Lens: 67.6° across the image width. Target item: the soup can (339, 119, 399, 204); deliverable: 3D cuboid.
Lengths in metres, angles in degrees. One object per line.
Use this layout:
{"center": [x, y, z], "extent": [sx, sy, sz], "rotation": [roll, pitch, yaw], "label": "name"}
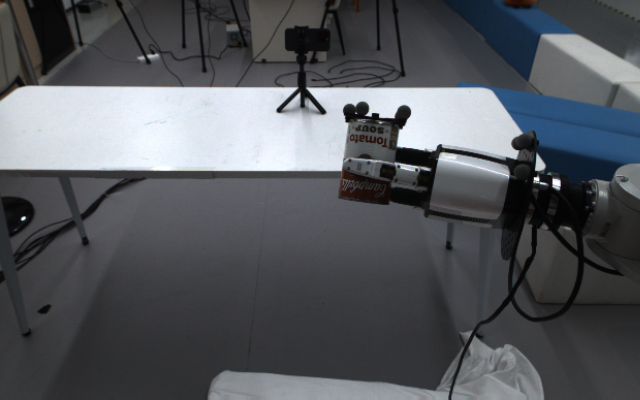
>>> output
{"center": [0.064, -0.050, 0.626], "extent": [0.067, 0.101, 0.067], "rotation": [7, 4, 0], "label": "soup can"}
